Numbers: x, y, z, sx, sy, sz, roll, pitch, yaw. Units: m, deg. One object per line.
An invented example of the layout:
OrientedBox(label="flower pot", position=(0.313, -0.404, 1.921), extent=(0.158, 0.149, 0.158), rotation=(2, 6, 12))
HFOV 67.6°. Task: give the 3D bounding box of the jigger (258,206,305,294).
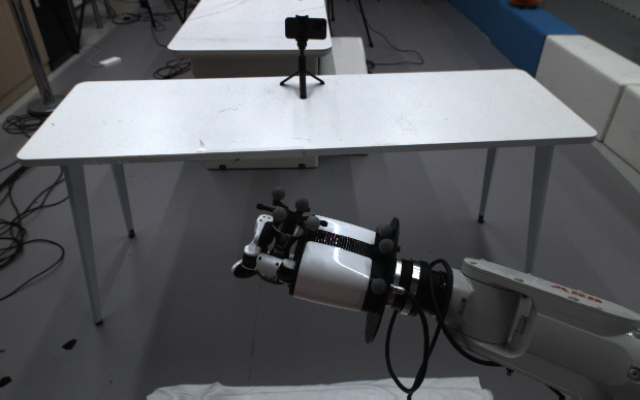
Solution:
OrientedBox(label="jigger", position=(-0.048, 0.065, 0.602), extent=(0.043, 0.071, 0.043), rotation=(18, 17, -6))
